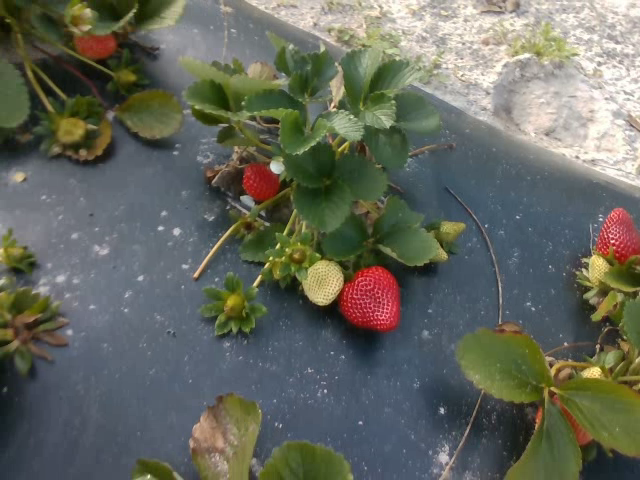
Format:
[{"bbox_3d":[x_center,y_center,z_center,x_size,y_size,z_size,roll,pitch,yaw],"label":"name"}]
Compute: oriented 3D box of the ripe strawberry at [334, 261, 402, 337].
[{"bbox_3d":[0.039,0.049,0.467,0.048,0.051,0.055,44,11,-31],"label":"ripe strawberry"}]
